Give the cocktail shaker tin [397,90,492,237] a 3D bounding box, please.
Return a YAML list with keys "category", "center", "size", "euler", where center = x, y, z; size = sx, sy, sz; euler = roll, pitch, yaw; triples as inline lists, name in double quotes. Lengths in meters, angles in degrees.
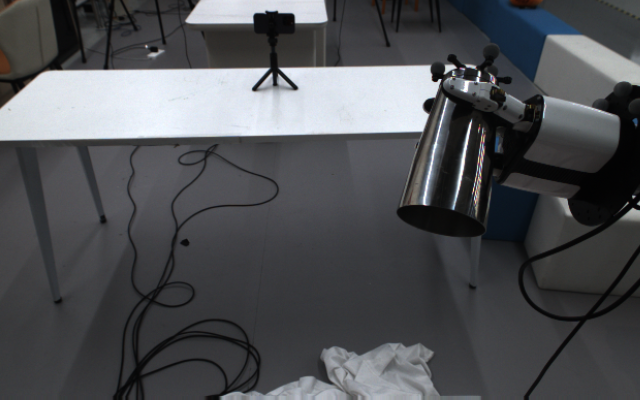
- category: "cocktail shaker tin"
  center: [0.150, -0.058, 0.530]
  size: [0.093, 0.093, 0.170]
  euler: [12, 72, 14]
